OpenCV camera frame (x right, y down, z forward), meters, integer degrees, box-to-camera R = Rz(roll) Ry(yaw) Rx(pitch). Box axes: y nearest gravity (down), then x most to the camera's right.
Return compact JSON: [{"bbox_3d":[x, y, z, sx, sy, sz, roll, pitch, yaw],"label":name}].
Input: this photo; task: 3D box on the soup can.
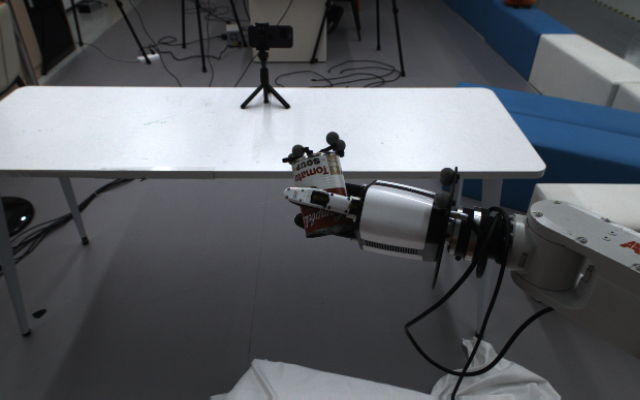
[{"bbox_3d":[0.005,-0.006,0.651,0.067,0.067,0.101,-10,80,-16],"label":"soup can"}]
